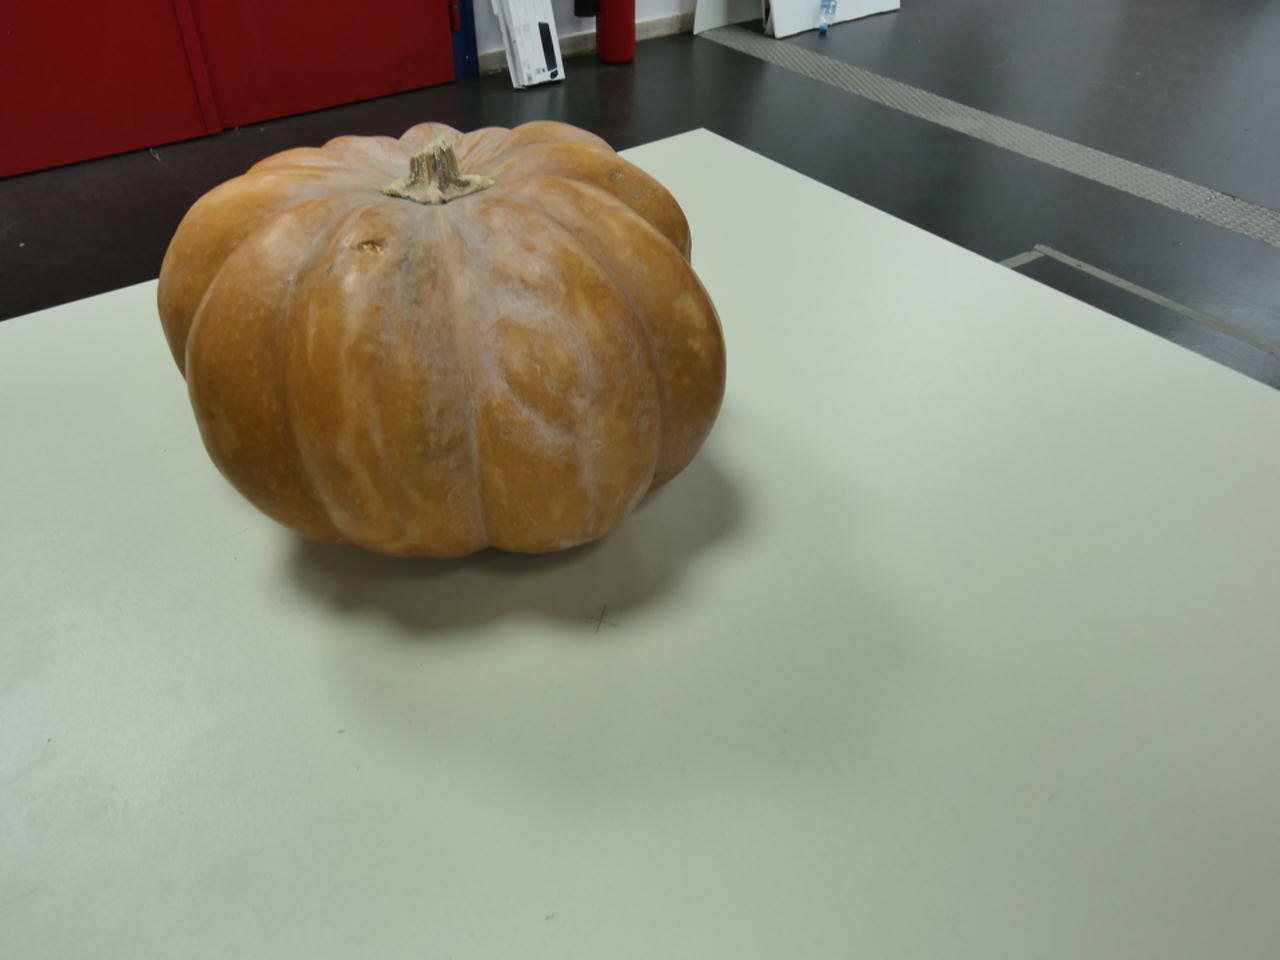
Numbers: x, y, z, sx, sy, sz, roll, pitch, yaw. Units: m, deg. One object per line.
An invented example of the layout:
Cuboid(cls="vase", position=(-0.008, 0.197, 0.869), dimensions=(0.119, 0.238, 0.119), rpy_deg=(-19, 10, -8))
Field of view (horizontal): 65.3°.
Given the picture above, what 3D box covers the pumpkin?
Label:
Cuboid(cls="pumpkin", position=(-0.090, -0.073, 0.492), dimensions=(0.277, 0.181, 0.277), rpy_deg=(0, 38, 0))
